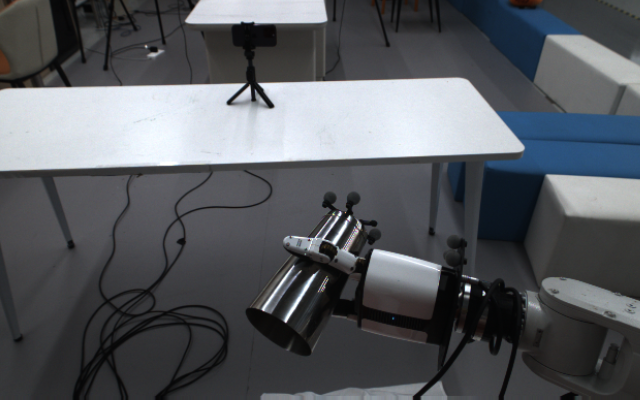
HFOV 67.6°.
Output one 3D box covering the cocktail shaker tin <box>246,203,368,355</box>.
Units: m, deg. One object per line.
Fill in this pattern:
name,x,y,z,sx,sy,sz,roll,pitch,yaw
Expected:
cocktail shaker tin,-0.005,0.091,0.601,0.093,0.093,0.170,19,54,23
